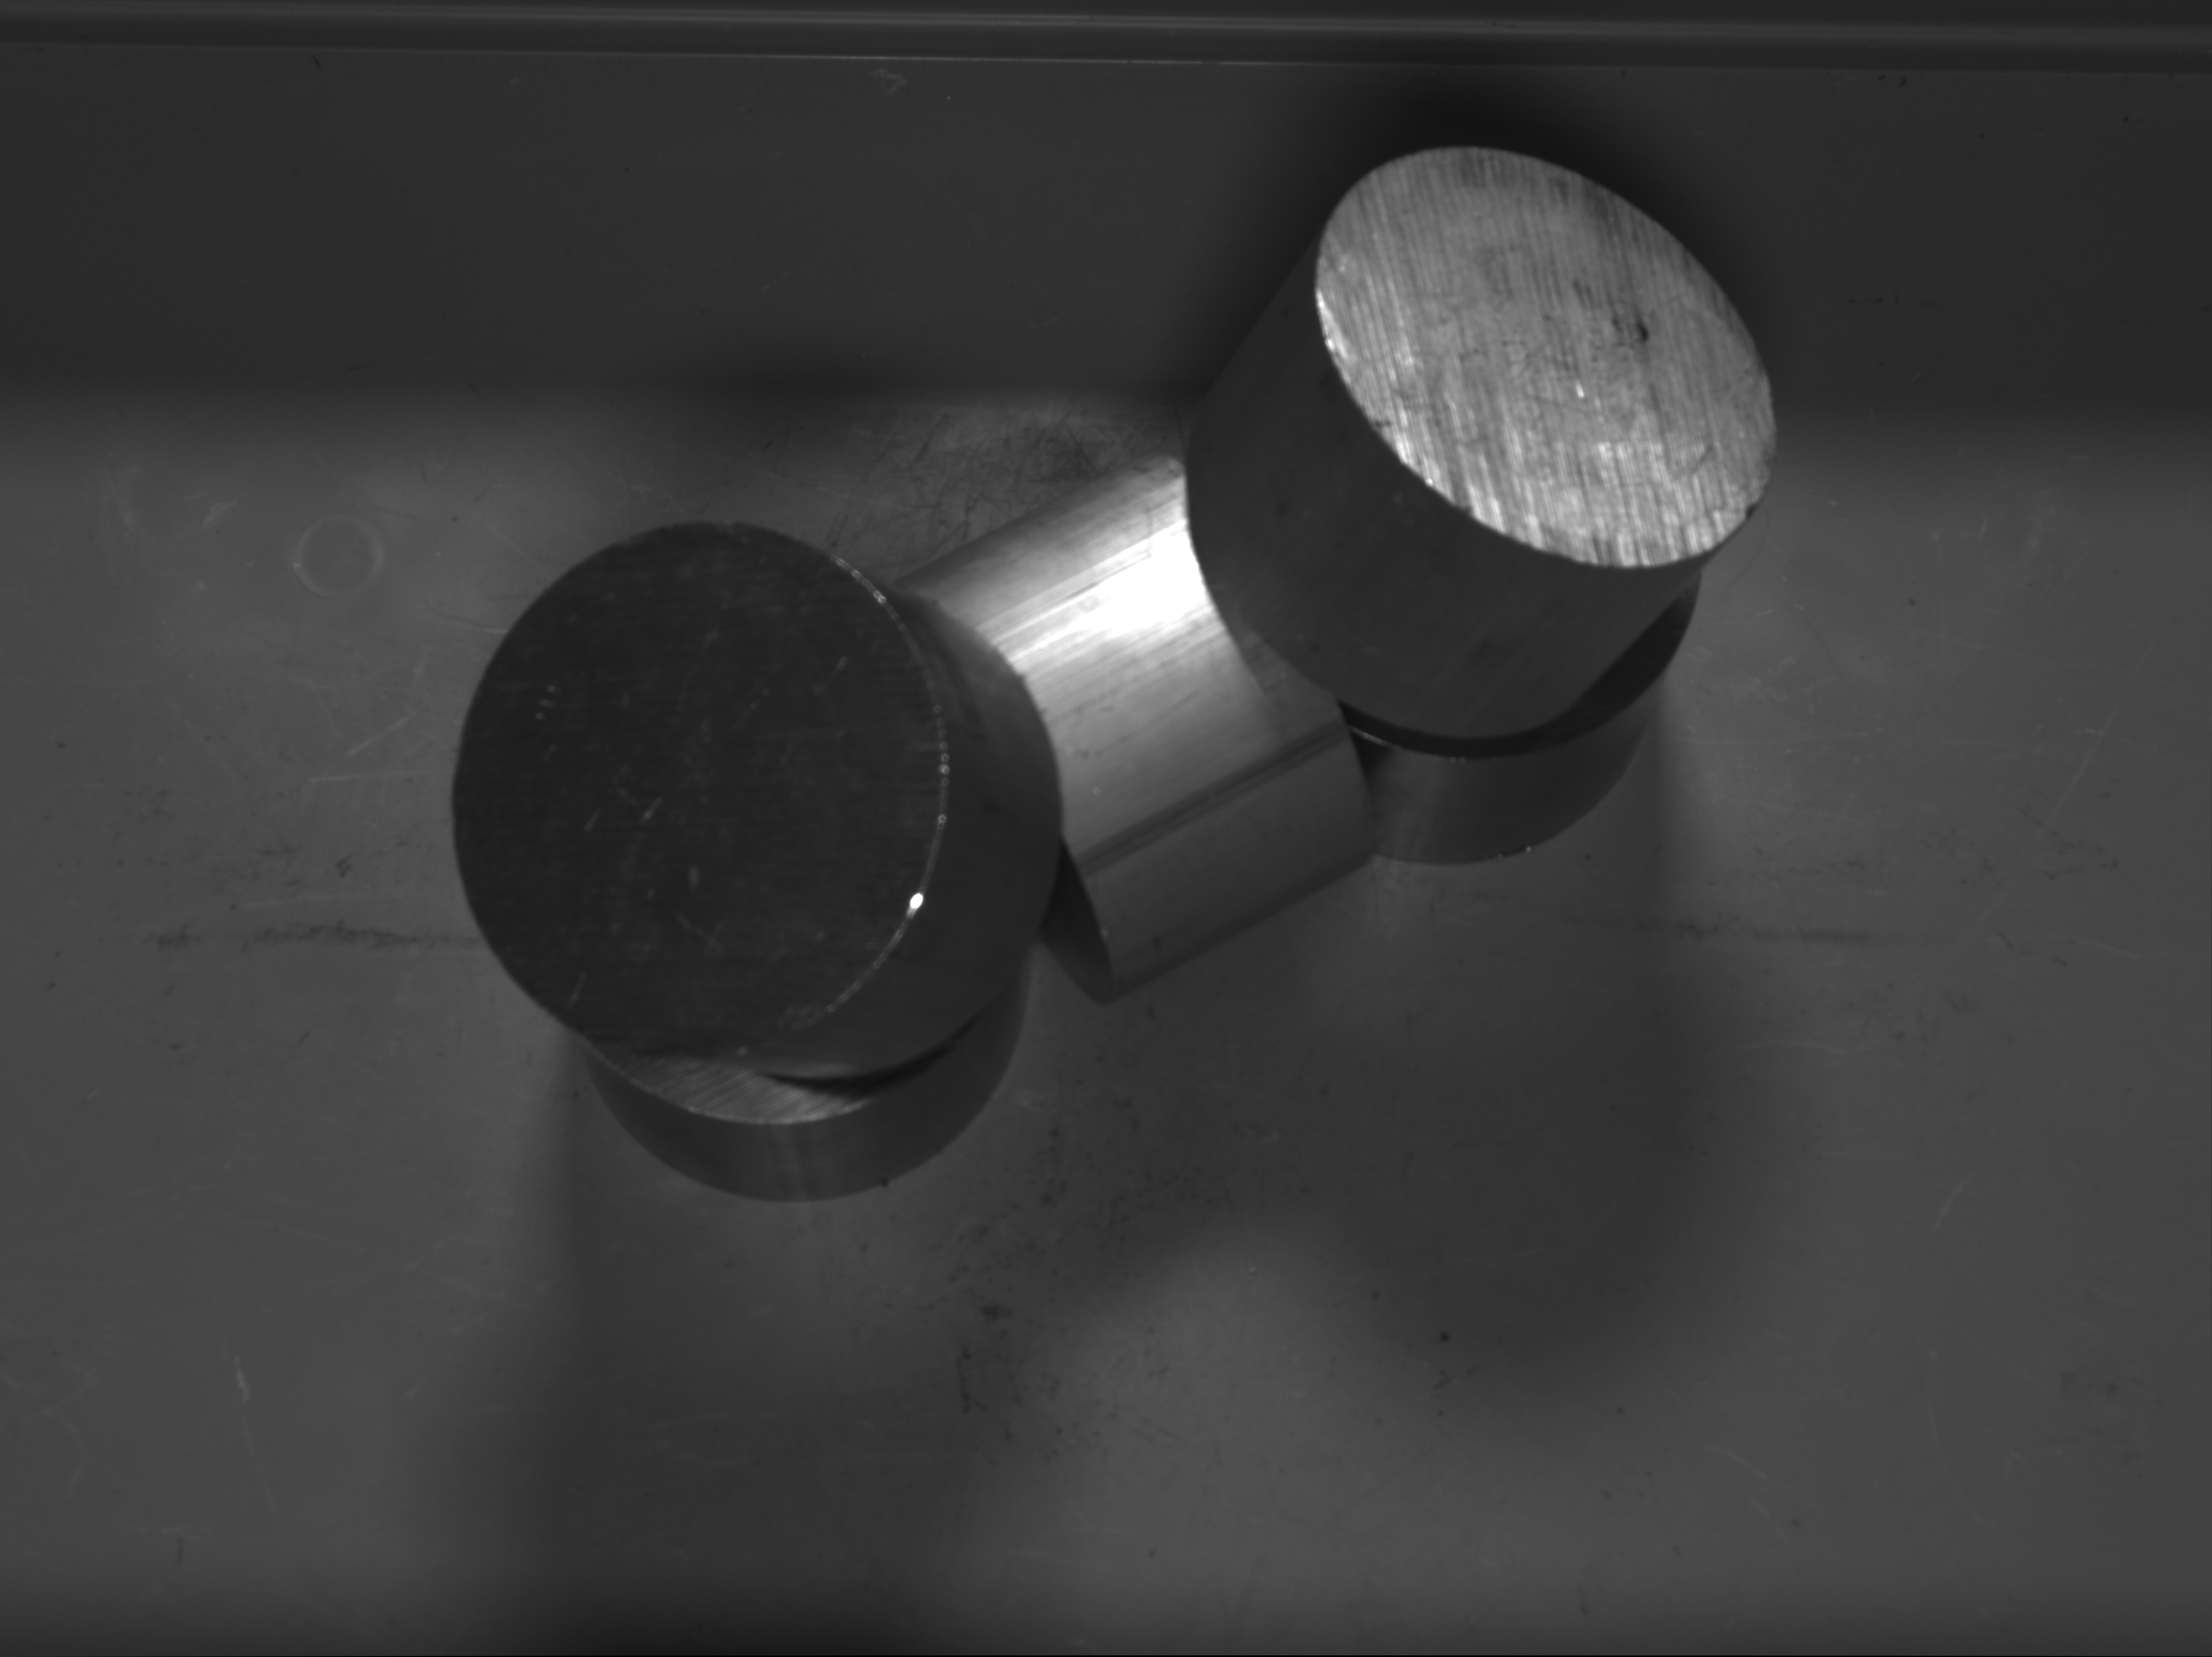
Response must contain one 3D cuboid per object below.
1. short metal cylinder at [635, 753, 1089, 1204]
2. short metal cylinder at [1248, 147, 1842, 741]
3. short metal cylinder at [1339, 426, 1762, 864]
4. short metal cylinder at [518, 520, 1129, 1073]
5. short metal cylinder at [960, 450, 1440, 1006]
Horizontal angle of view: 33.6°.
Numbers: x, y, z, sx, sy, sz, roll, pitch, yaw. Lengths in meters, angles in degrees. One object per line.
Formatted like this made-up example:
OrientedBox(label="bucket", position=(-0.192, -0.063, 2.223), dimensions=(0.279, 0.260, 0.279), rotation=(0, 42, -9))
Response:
OrientedBox(label="short metal cylinder", position=(-0.043, 0.019, 0.623), dimensions=(0.080, 0.050, 0.080), rotation=(0, 70, 0))
OrientedBox(label="short metal cylinder", position=(0.069, -0.061, 0.583), dimensions=(0.080, 0.050, 0.080), rotation=(12, 55, -18))
OrientedBox(label="short metal cylinder", position=(0.072, -0.040, 0.645), dimensions=(0.080, 0.050, 0.080), rotation=(0, 70, 0))
OrientedBox(label="short metal cylinder", position=(-0.043, -0.003, 0.563), dimensions=(0.080, 0.050, 0.080), rotation=(-3, 82, 19))
OrientedBox(label="short metal cylinder", position=(0.014, -0.017, 0.620), dimensions=(0.050, 0.080, 0.080), rotation=(-28, 72, -10))
